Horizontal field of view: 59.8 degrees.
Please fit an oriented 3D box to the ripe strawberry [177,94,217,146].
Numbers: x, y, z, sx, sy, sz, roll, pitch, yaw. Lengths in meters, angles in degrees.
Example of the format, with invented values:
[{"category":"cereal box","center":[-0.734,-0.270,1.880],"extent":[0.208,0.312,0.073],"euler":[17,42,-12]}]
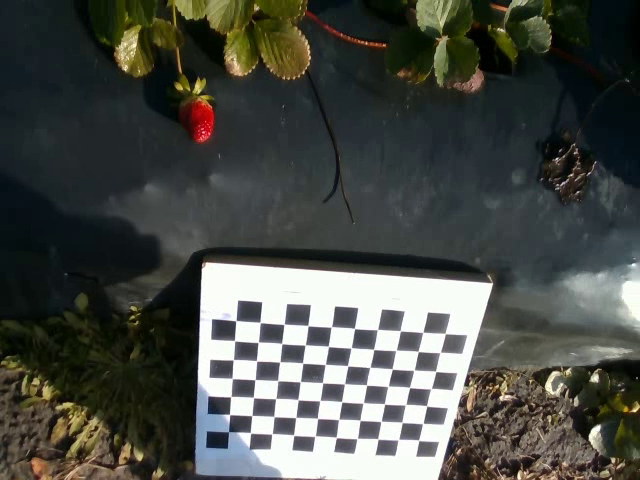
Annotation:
[{"category":"ripe strawberry","center":[-0.089,-0.087,0.396],"extent":[0.028,0.041,0.031],"euler":[-18,-32,5]}]
